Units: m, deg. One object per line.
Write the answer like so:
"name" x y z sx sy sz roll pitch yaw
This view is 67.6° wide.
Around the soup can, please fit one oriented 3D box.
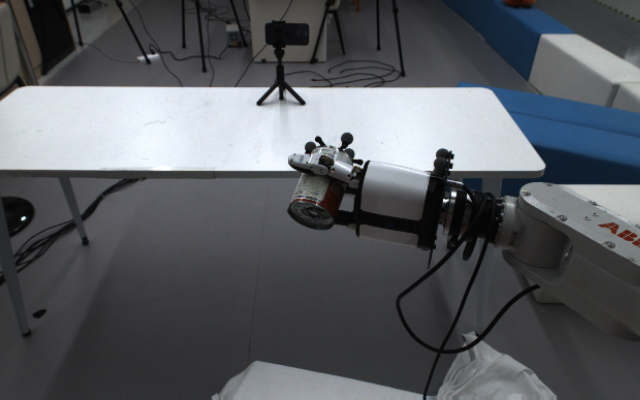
"soup can" 0.002 -0.019 0.680 0.067 0.067 0.101 12 59 14
